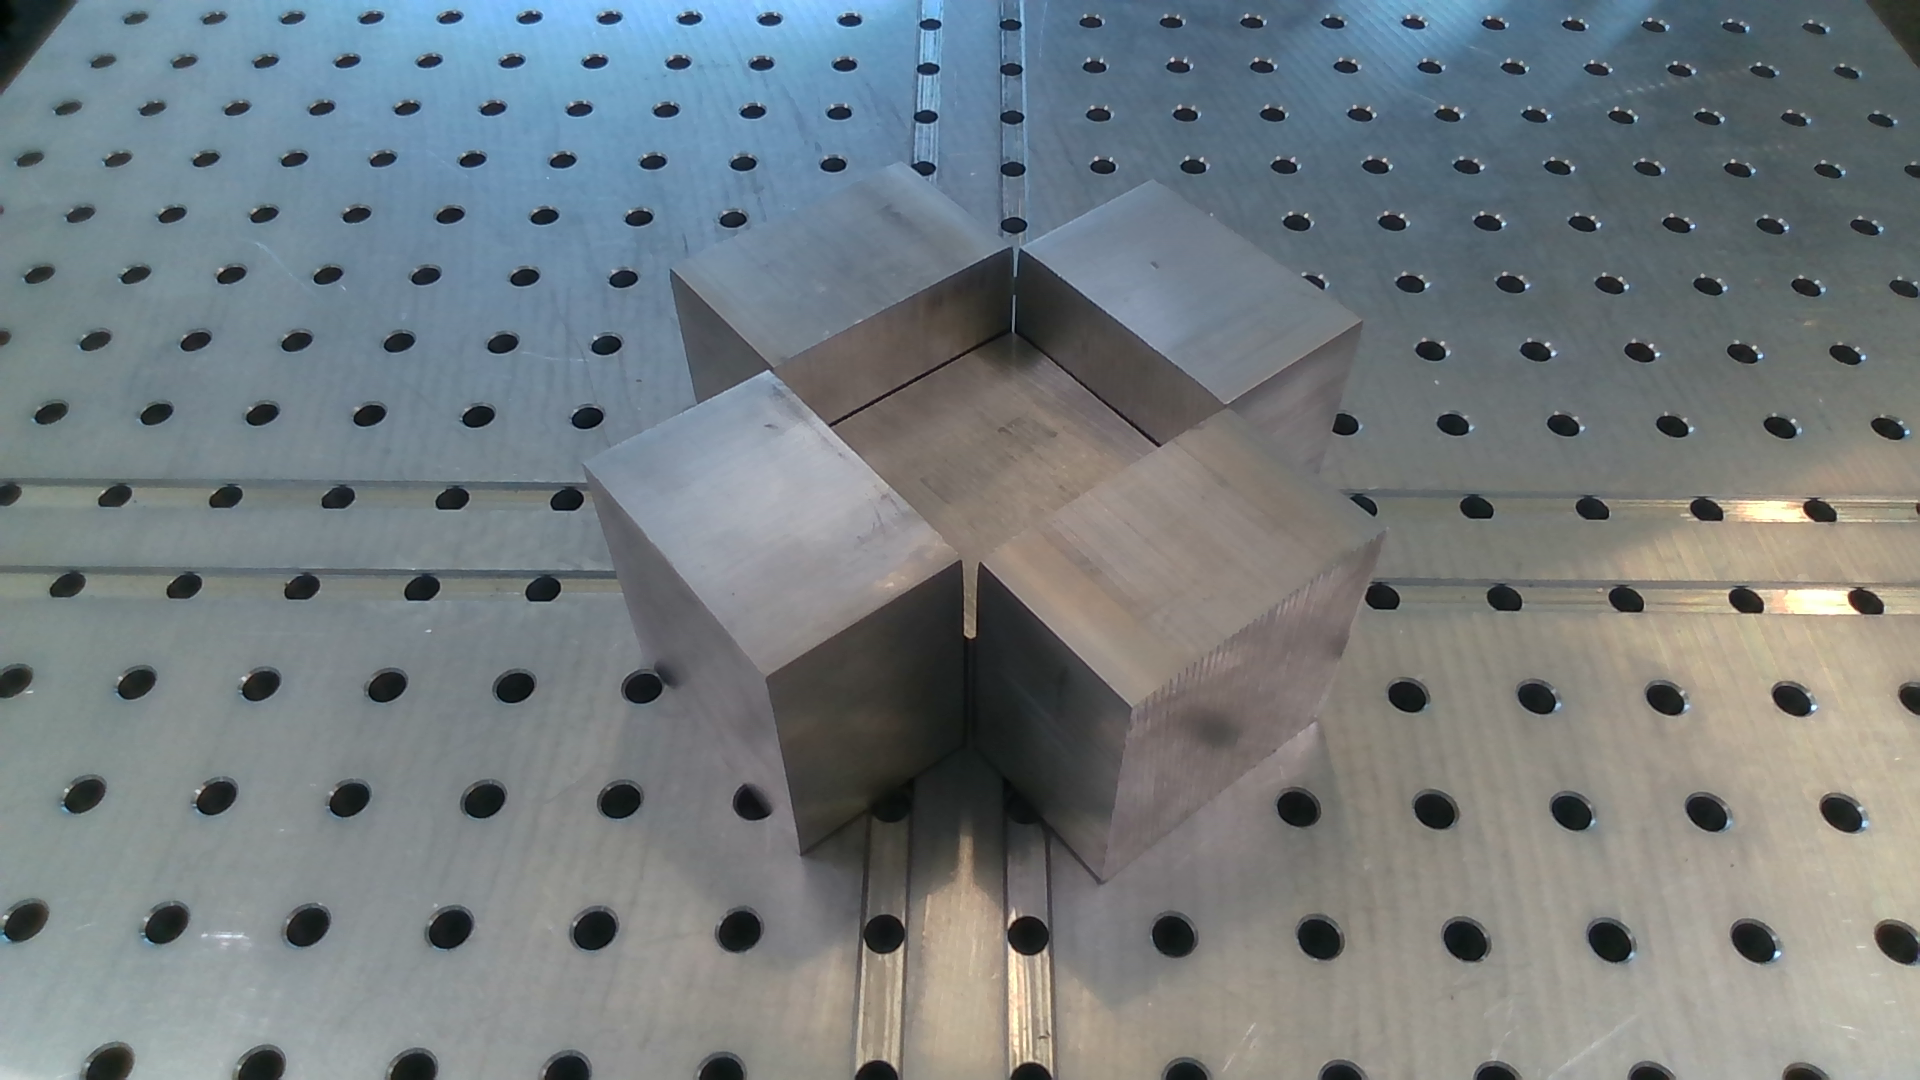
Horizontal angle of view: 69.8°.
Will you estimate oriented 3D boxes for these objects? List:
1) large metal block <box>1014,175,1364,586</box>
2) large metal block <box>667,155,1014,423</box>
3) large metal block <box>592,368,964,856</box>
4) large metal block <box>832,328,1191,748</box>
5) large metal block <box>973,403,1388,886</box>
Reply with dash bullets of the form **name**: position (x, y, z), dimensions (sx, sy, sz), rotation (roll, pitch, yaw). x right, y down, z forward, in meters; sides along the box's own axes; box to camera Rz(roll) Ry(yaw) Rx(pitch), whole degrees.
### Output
- **large metal block**: position (0.060, -0.044, 0.398), dimensions (0.050, 0.080, 0.080), rotation (-32, 57, -24)
- **large metal block**: position (-0.032, -0.053, 0.405), dimensions (0.080, 0.080, 0.050), rotation (-32, 57, -23)
- **large metal block**: position (-0.043, 0.018, 0.347), dimensions (0.050, 0.080, 0.080), rotation (-30, 56, -23)
- **large metal block**: position (0.009, -0.003, 0.382), dimensions (0.080, 0.050, 0.080), rotation (-30, 54, -25)
- **large metal block**: position (0.050, 0.026, 0.339), dimensions (0.080, 0.080, 0.050), rotation (-32, 57, -23)
